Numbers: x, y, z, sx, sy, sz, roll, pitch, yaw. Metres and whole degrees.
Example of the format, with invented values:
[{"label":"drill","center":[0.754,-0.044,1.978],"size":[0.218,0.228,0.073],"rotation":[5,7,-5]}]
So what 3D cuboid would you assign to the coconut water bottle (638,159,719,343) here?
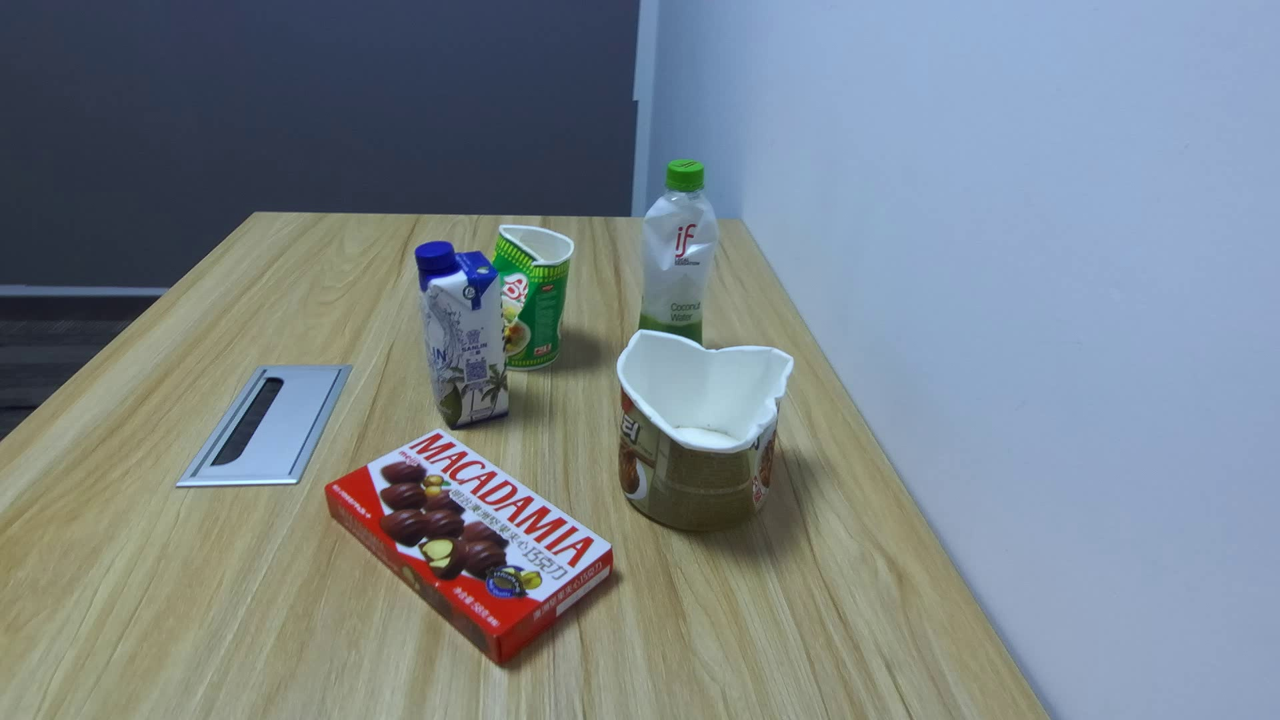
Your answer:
[{"label":"coconut water bottle","center":[0.032,-0.079,0.619],"size":[0.067,0.187,0.067],"rotation":[3,29,-1]}]

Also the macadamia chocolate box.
[{"label":"macadamia chocolate box","center":[-0.113,0.110,0.459],"size":[0.177,0.027,0.096],"rotation":[27,37,32]}]

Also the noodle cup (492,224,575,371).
[{"label":"noodle cup","center":[-0.104,-0.054,0.644],"size":[0.075,0.122,0.082],"rotation":[9,23,-5]}]

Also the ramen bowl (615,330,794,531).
[{"label":"ramen bowl","center":[0.039,0.053,0.491],"size":[0.113,0.097,0.134],"rotation":[8,31,8]}]

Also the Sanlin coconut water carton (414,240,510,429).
[{"label":"Sanlin coconut water carton","center":[-0.139,-0.023,0.561],"size":[0.061,0.144,0.060],"rotation":[-12,33,-25]}]
